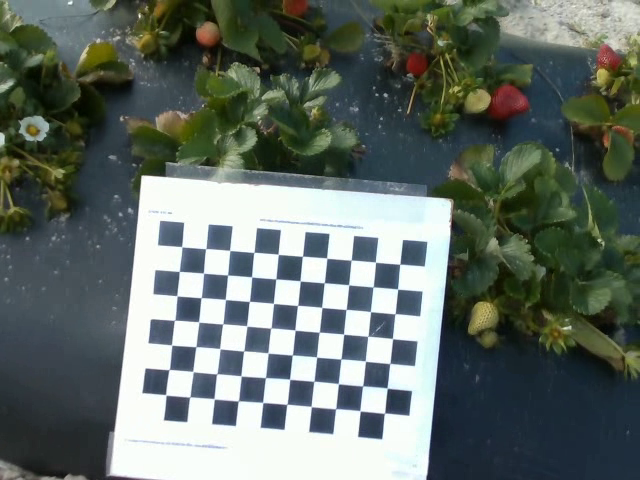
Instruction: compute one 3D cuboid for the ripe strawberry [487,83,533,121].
[{"bbox_3d":[0.257,-0.183,0.811,0.048,0.051,0.055,36,4,-35],"label":"ripe strawberry"}]
